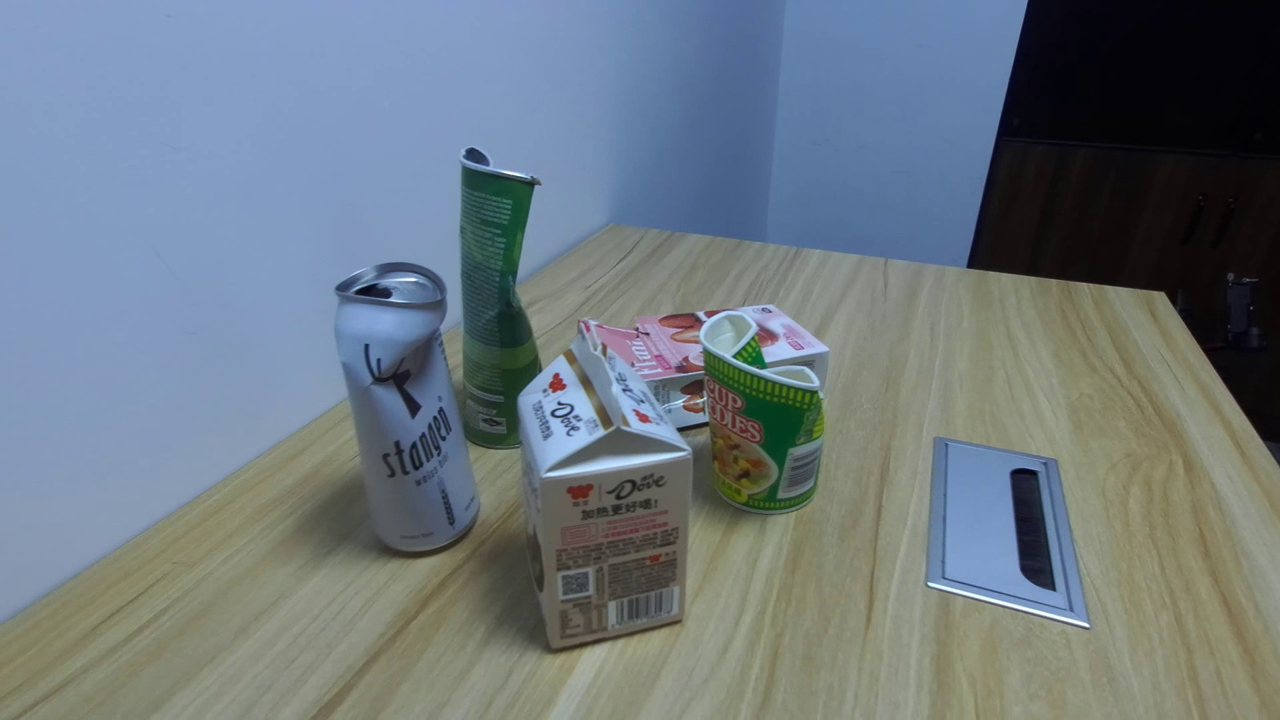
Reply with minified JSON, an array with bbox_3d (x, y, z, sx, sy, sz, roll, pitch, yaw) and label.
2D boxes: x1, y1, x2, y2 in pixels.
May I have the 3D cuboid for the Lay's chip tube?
[{"bbox_3d":[-0.098,-0.038,0.488,0.077,0.201,0.069,14,29,21],"label":"Lay's chip tube"}]

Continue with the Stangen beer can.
[{"bbox_3d":[-0.131,0.031,0.401,0.066,0.162,0.076,-18,33,-29],"label":"Stangen beer can"}]

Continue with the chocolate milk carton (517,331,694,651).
[{"bbox_3d":[-0.020,0.059,0.357,0.074,0.148,0.075,-8,28,-15],"label":"chocolate milk carton"}]

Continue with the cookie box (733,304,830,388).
[{"bbox_3d":[0.049,0.005,0.568,0.186,0.059,0.104,-5,31,-20],"label":"cookie box"}]

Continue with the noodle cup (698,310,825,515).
[{"bbox_3d":[0.079,0.033,0.446,0.075,0.122,0.083,0,37,17],"label":"noodle cup"}]
